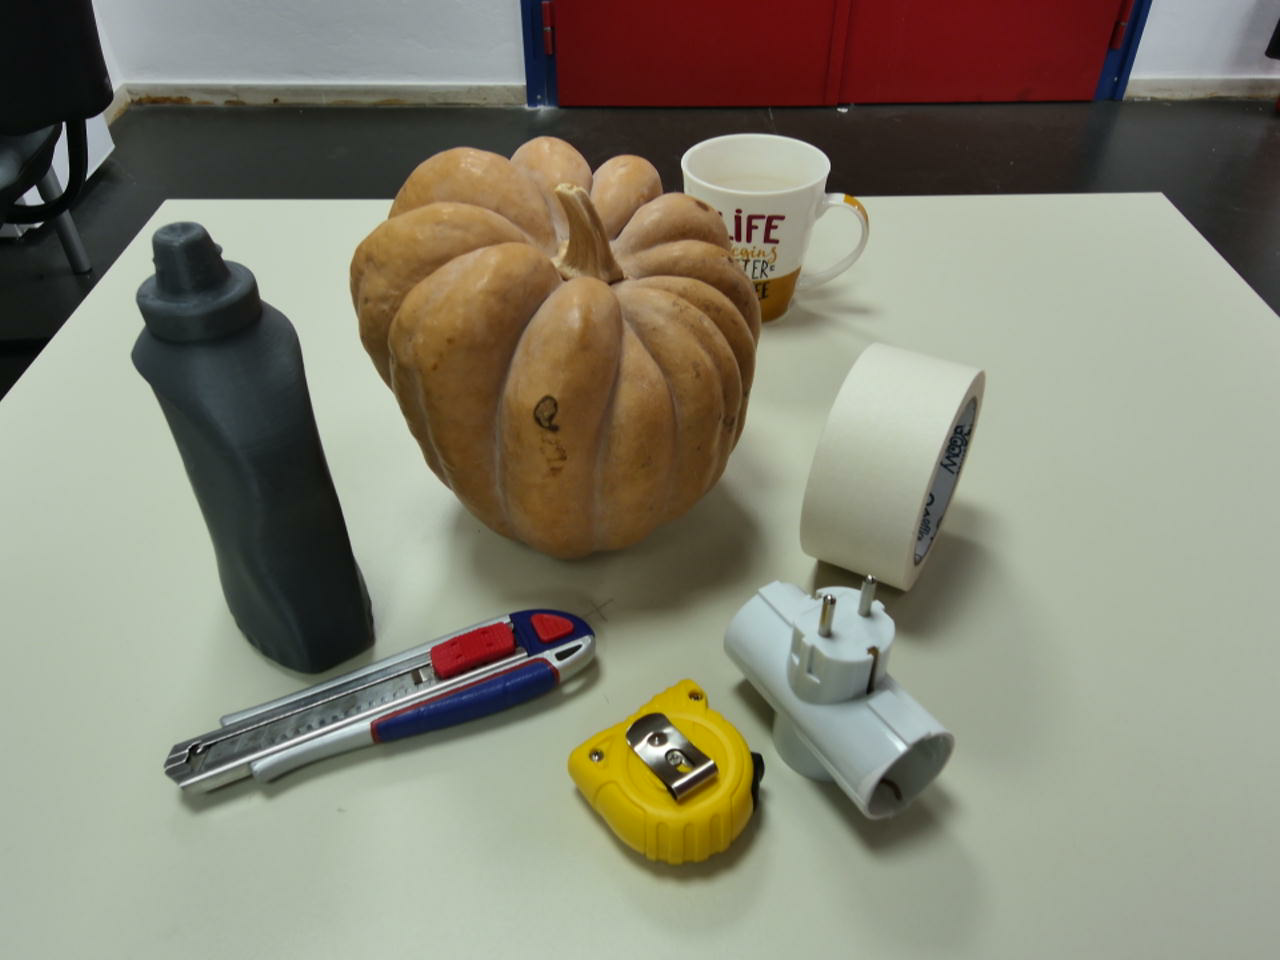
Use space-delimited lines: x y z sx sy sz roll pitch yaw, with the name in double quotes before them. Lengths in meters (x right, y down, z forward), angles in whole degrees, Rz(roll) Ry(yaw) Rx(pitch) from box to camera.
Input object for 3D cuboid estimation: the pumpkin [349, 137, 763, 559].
"pumpkin" -0.036 -0.062 0.480 0.199 0.177 0.198 0 39 0
